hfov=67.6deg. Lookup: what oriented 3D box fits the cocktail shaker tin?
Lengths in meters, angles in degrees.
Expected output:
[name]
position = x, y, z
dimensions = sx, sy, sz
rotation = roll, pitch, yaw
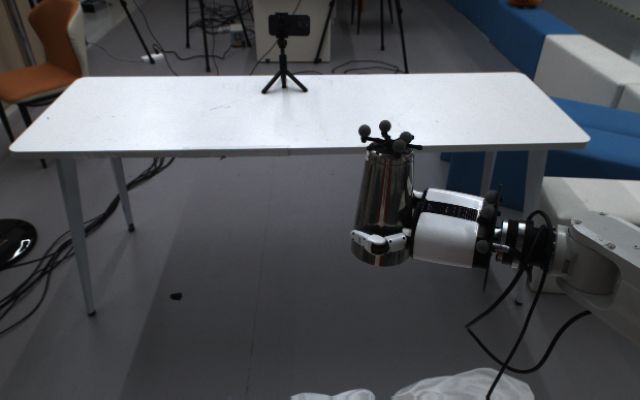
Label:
[cocktail shaker tin]
position = 0.098, 0.002, 0.719
dimensions = 0.093, 0.170, 0.093
rotation = 1, 28, -1
